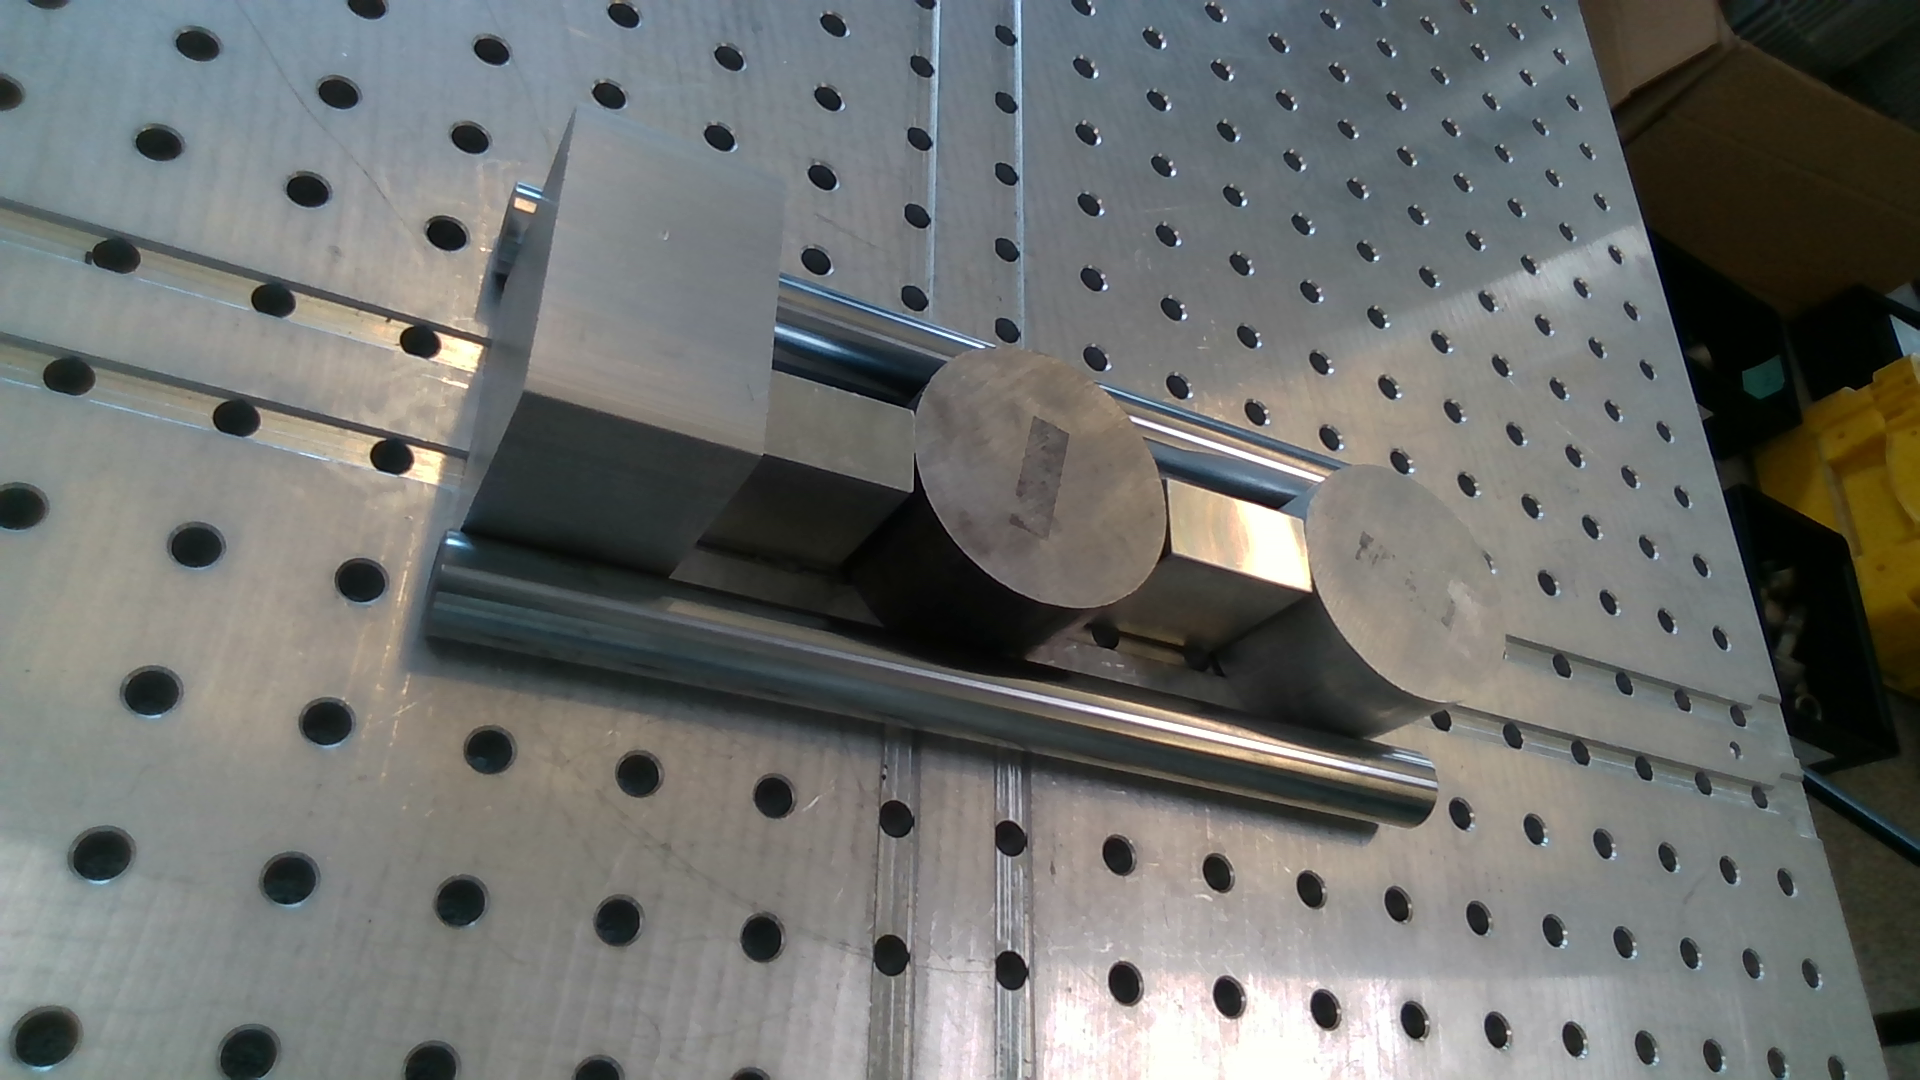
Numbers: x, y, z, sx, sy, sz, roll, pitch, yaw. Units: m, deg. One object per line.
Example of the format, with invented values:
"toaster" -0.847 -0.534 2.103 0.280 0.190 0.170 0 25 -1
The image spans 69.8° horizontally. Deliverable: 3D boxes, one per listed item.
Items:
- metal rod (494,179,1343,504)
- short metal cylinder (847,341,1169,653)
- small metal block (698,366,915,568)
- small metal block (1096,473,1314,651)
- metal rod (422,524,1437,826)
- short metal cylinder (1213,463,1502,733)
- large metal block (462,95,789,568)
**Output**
"metal rod" 0.012 -0.048 0.428 0.300 0.025 0.025 15 58 -25
"short metal cylinder" 0.012 -0.009 0.392 0.080 0.050 0.080 14 59 -25
"small metal block" -0.046 -0.019 0.361 0.050 0.050 0.025 14 58 -25
"small metal block" 0.070 0.008 0.417 0.050 0.050 0.025 15 58 -24
"metal rod" 0.011 0.044 0.379 0.300 0.025 0.025 15 58 -25
"short metal cylinder" 0.127 0.022 0.446 0.080 0.050 0.080 14 59 -25
"large metal block" -0.083 -0.043 0.333 0.050 0.080 0.080 15 58 -24
